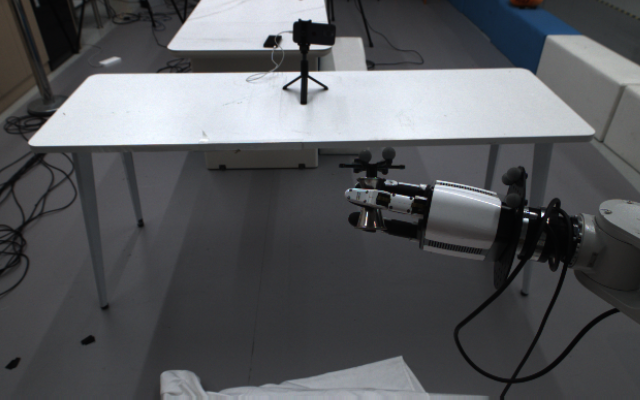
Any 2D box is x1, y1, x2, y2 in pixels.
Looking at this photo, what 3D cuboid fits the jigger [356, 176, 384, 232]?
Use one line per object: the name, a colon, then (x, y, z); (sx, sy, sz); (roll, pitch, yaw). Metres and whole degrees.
jigger: (0.068, 0.004, 0.656); (0.043, 0.071, 0.043); (2, -6, 0)
